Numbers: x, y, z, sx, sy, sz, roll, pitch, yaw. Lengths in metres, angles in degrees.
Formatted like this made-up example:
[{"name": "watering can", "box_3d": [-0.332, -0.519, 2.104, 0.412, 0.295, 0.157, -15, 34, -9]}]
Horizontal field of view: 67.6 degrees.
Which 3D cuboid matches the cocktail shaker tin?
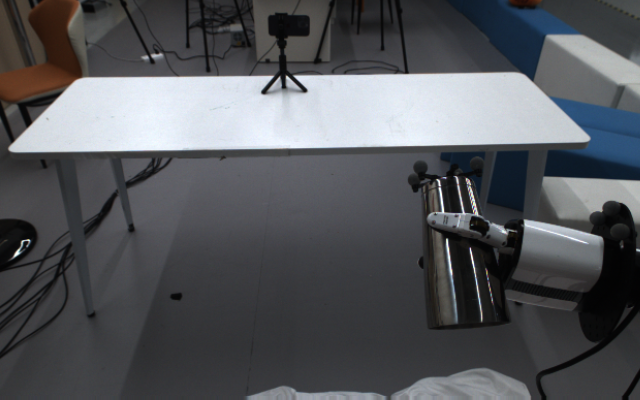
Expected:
[{"name": "cocktail shaker tin", "box_3d": [0.164, 0.062, 0.572, 0.093, 0.093, 0.170, -2, 70, -5]}]
